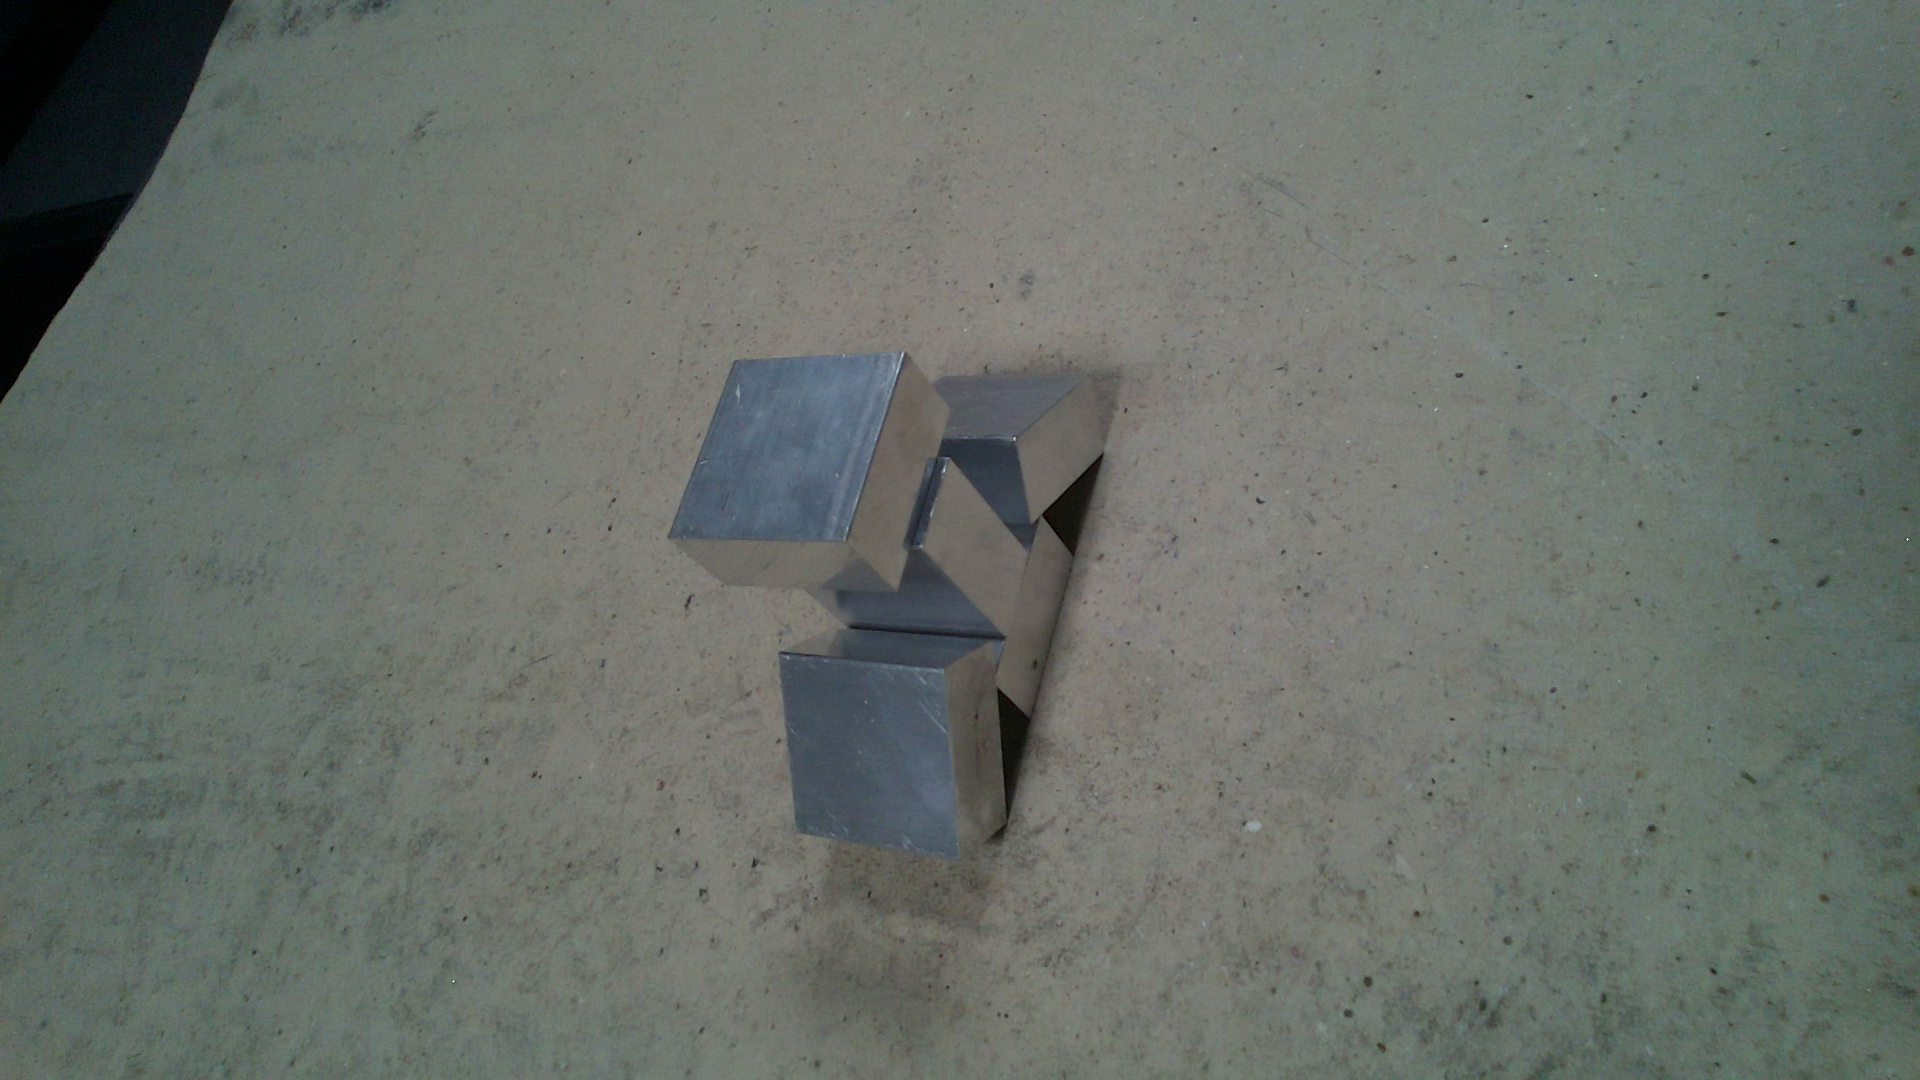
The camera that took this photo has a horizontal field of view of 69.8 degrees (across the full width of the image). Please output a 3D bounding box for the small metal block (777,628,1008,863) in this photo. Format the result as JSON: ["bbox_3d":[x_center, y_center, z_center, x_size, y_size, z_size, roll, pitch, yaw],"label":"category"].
[{"bbox_3d":[-0.017,0.051,0.355,0.050,0.025,0.050,2,103,30],"label":"small metal block"}]

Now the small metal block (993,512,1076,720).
[{"bbox_3d":[-0.001,0.020,0.383,0.050,0.025,0.050,2,63,30],"label":"small metal block"}]

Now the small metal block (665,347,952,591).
[{"bbox_3d":[-0.035,-0.017,0.326,0.050,0.025,0.050,1,62,29],"label":"small metal block"}]

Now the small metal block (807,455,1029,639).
[{"bbox_3d":[-0.017,0.002,0.353,0.050,0.050,0.025,2,63,30],"label":"small metal block"}]

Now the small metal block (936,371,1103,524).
[{"bbox_3d":[0.007,-0.027,0.392,0.050,0.025,0.050,2,27,30],"label":"small metal block"}]
